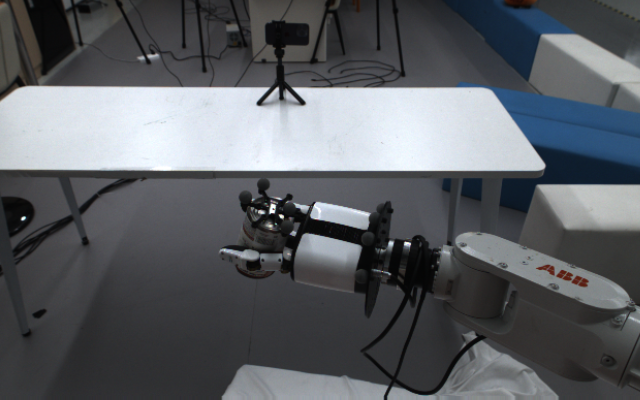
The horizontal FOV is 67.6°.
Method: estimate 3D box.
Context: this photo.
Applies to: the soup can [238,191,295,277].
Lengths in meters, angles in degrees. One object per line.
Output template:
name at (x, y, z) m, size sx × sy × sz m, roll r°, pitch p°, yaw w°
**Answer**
soup can at (-0.079, 0.055, 0.680) m, size 0.067 × 0.101 × 0.067 m, roll 14°, pitch 40°, yaw -12°
